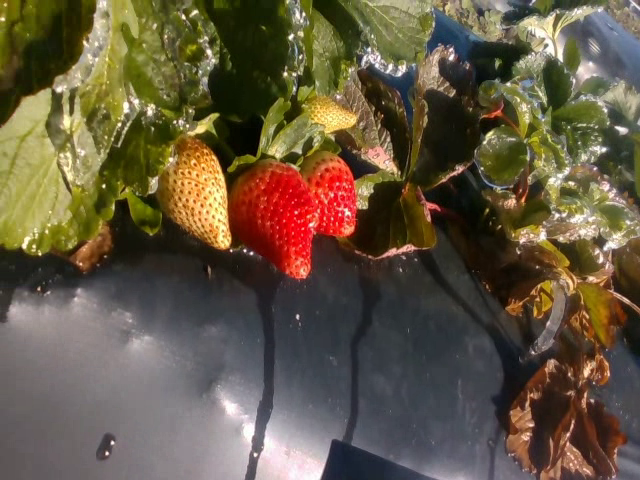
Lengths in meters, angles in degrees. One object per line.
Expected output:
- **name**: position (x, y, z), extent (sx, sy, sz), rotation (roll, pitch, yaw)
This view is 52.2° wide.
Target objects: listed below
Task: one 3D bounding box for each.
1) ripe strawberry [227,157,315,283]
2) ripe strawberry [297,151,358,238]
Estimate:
- **ripe strawberry**: position (-0.015, -0.003, 0.242), extent (0.036, 0.052, 0.040), rotation (-16, -31, -31)
- **ripe strawberry**: position (0.004, -0.018, 0.274), extent (0.036, 0.041, 0.030), rotation (-43, 14, -25)
